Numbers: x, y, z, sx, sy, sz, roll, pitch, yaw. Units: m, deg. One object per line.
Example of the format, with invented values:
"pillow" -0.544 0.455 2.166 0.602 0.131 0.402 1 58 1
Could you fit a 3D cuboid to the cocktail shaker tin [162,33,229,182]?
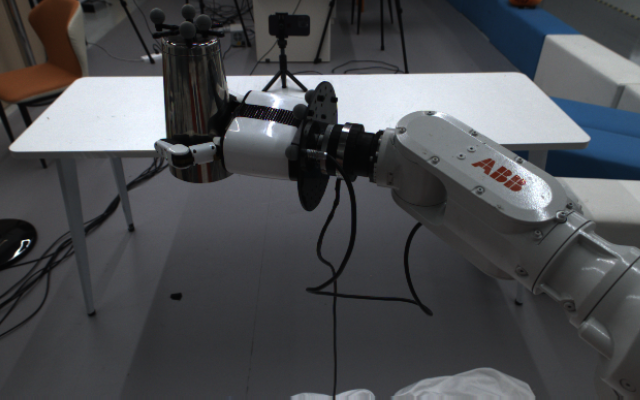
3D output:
"cocktail shaker tin" -0.152 -0.117 0.604 0.093 0.170 0.093 2 35 -1
